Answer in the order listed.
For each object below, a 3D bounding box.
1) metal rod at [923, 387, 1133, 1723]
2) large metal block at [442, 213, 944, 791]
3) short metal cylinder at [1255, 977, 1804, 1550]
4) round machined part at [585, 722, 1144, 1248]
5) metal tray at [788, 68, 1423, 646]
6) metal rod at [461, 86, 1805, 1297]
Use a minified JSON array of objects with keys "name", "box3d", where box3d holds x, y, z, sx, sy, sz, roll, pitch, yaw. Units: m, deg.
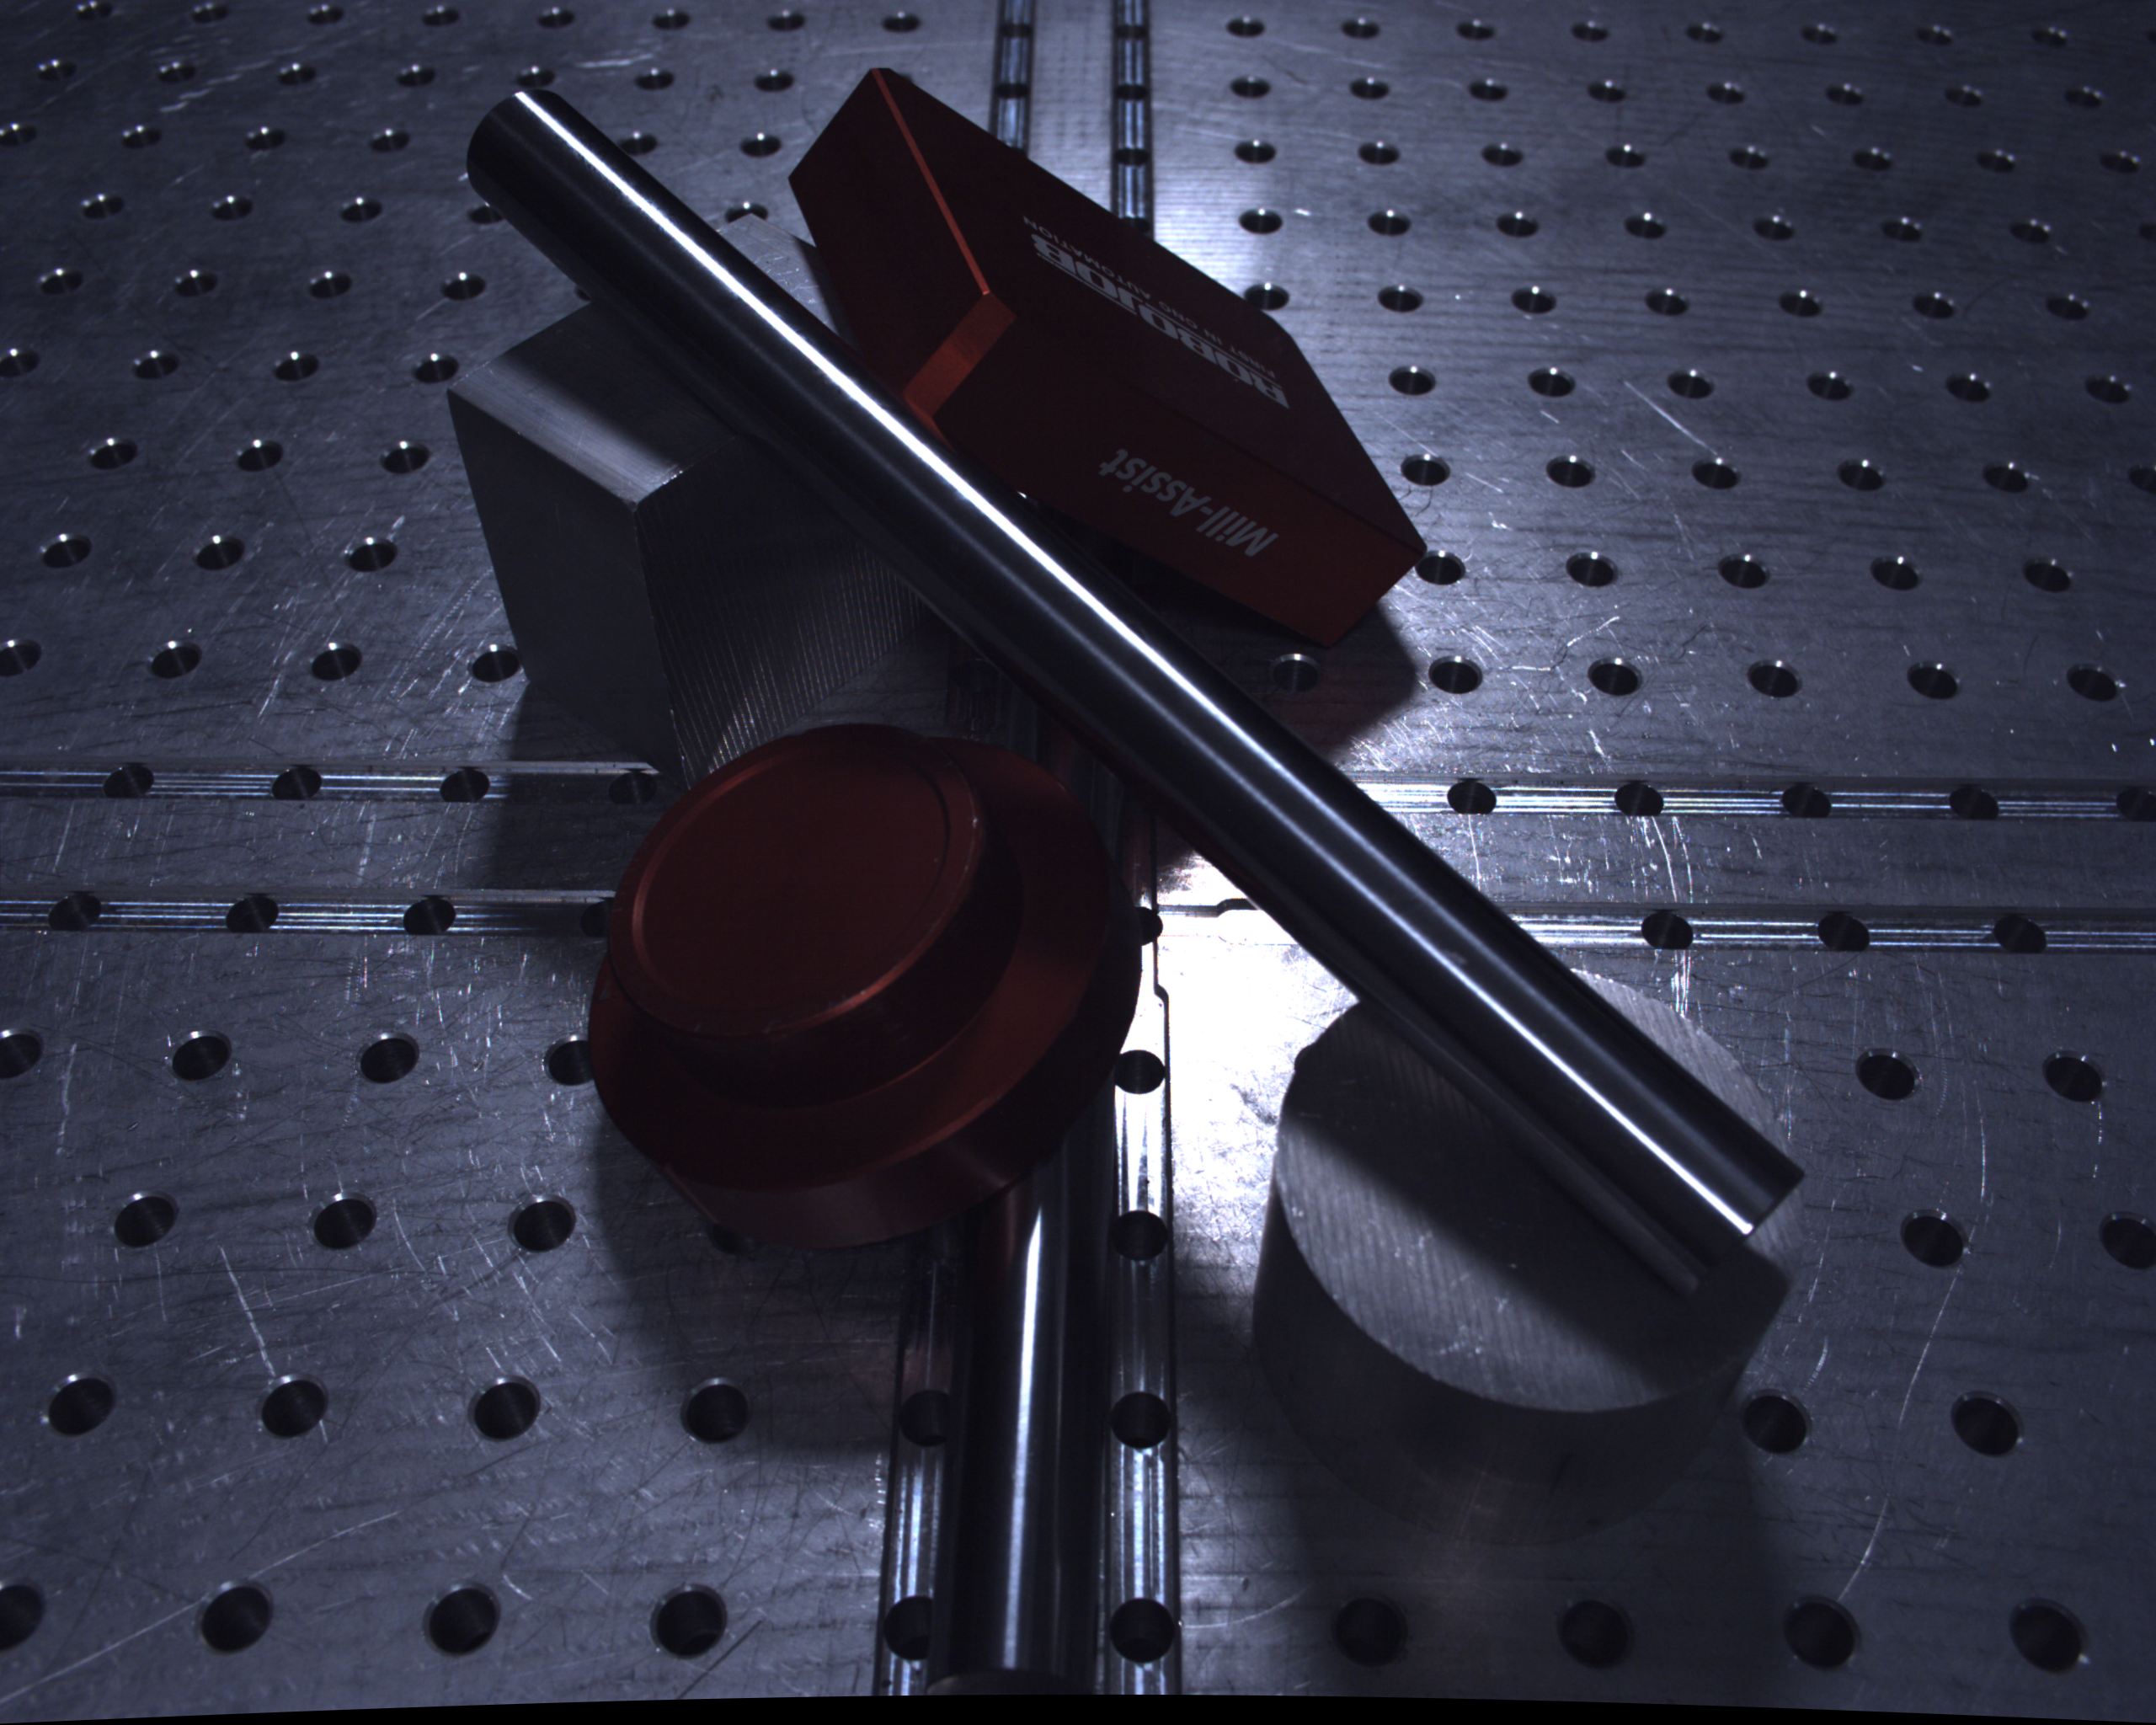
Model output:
[{"name":"metal rod","box3d":[-0.004,0.007,0.401,0.025,0.025,0.300,2,50,1]},{"name":"large metal block","box3d":[-0.075,-0.074,0.434,0.050,0.080,0.080,34,58,25]},{"name":"short metal cylinder","box3d":[0.070,0.063,0.340,0.081,0.050,0.080,0,50,0]},{"name":"round machined part","box3d":[-0.041,0.014,0.364,0.098,0.042,0.098,-11,49,13]},{"name":"metal tray","box3d":[0.008,-0.104,0.441,0.131,0.030,0.090,20,35,-41]},{"name":"metal rod","box3d":[-0.007,-0.043,0.352,0.025,0.025,0.300,-36,67,-26]}]
